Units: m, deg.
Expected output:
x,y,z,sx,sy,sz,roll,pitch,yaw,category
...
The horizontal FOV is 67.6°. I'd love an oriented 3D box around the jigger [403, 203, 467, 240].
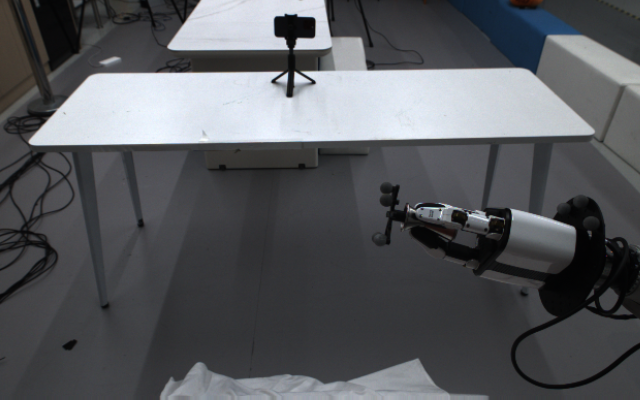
x,y,z,sx,sy,sz,roll,pitch,yaw,category
0.151,0.026,0.642,0.071,0.043,0.043,11,35,2,jigger
